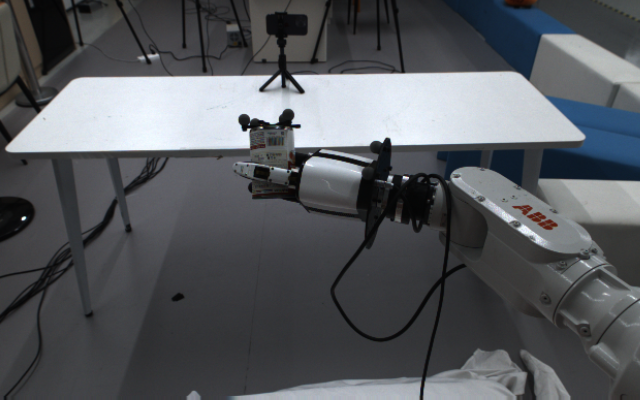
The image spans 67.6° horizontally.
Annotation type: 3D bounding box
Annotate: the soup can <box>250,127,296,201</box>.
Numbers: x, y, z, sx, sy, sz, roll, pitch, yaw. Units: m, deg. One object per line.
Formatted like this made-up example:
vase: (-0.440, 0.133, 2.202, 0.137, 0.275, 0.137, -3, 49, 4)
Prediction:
soup can: (-0.068, -0.053, 0.712, 0.067, 0.101, 0.067, -3, -1, 0)
